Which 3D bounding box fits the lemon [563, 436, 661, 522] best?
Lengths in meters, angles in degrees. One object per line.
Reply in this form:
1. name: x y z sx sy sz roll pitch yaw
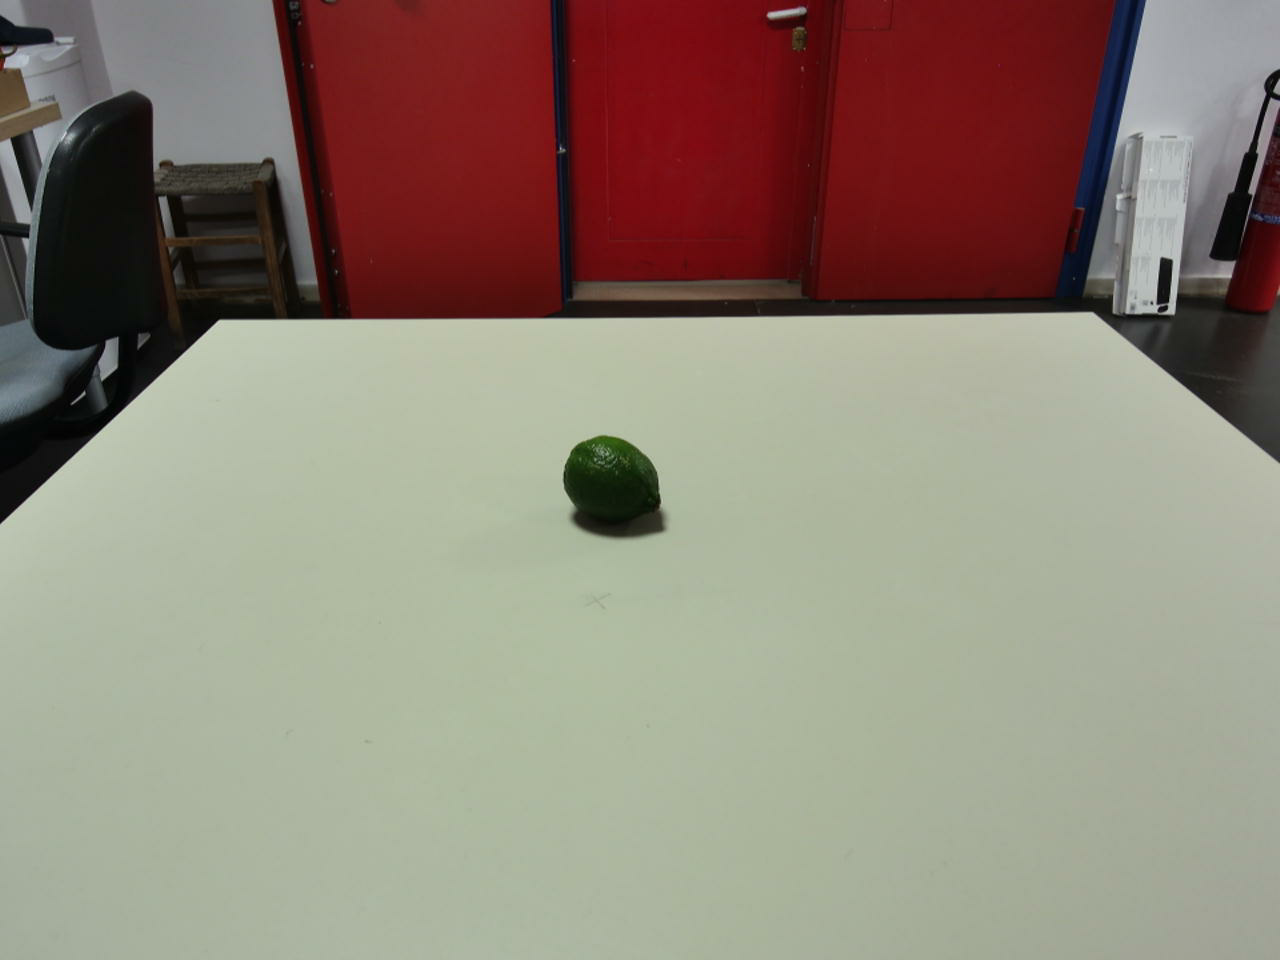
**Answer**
1. lemon: -0.018 -0.001 0.604 0.057 0.051 0.054 -3 27 -4
